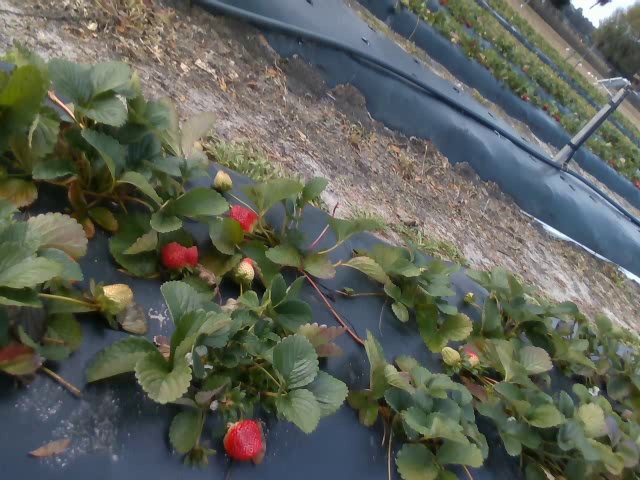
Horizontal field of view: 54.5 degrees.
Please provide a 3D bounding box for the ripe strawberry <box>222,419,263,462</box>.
[{"bbox_3d":[-0.090,0.243,0.736,0.050,0.049,0.053,23,4,-35],"label":"ripe strawberry"}]
